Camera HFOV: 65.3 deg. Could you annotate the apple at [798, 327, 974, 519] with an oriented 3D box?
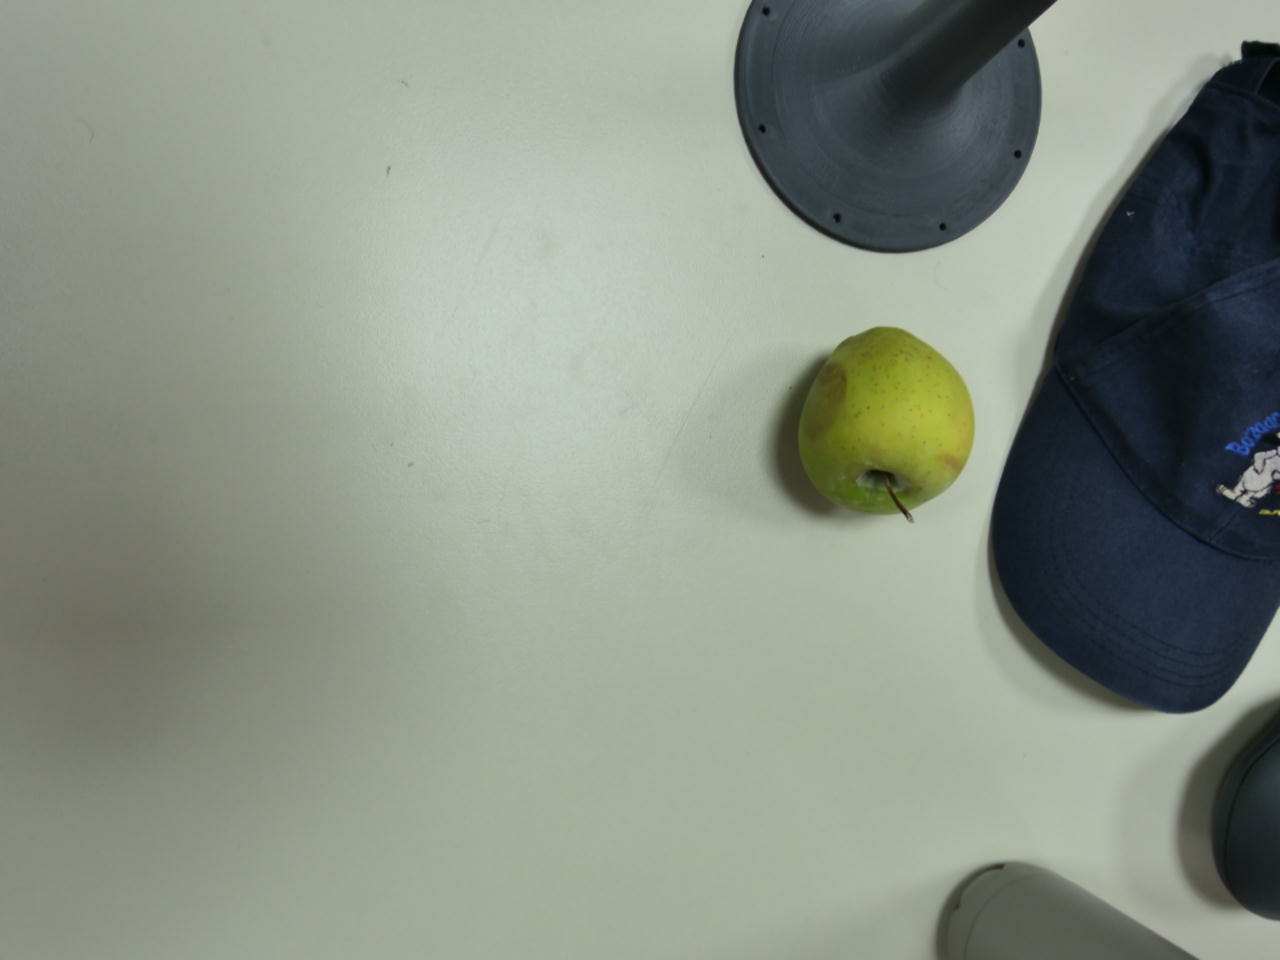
[{"bbox_3d":[0.104,-0.023,0.421,0.072,0.075,0.077,45,82,-8],"label":"apple"}]
